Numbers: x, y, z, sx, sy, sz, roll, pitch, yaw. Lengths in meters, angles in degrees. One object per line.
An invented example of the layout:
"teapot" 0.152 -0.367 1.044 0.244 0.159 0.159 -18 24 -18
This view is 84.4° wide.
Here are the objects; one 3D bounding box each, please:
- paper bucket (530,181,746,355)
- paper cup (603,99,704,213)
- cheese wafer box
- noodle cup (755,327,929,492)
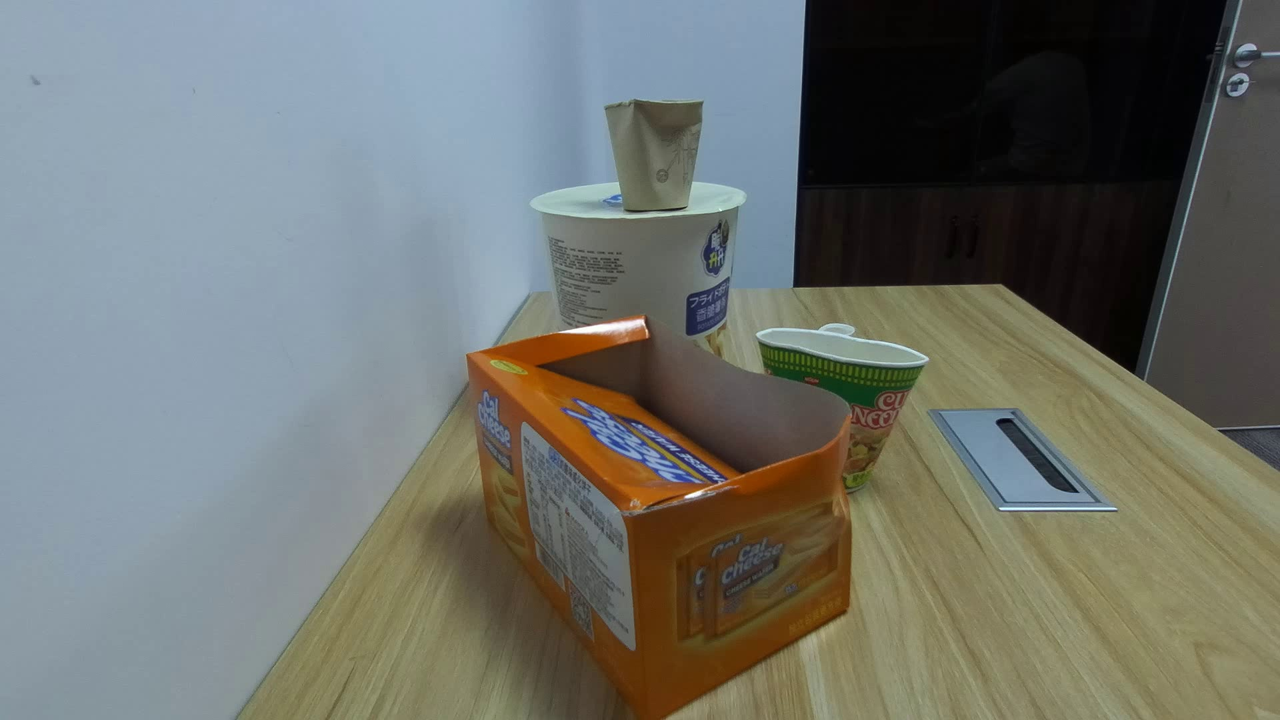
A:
"paper bucket" 0.002 -0.053 0.654 0.198 0.194 0.198 -1 23 1
"paper cup" 0.013 -0.165 0.568 0.066 0.084 0.071 -11 19 -24
"cheese wafer box" 0.008 0.074 0.438 0.153 0.132 0.229 -14 24 -29
"noodle cup" 0.142 0.035 0.530 0.070 0.111 0.114 -20 29 -31
